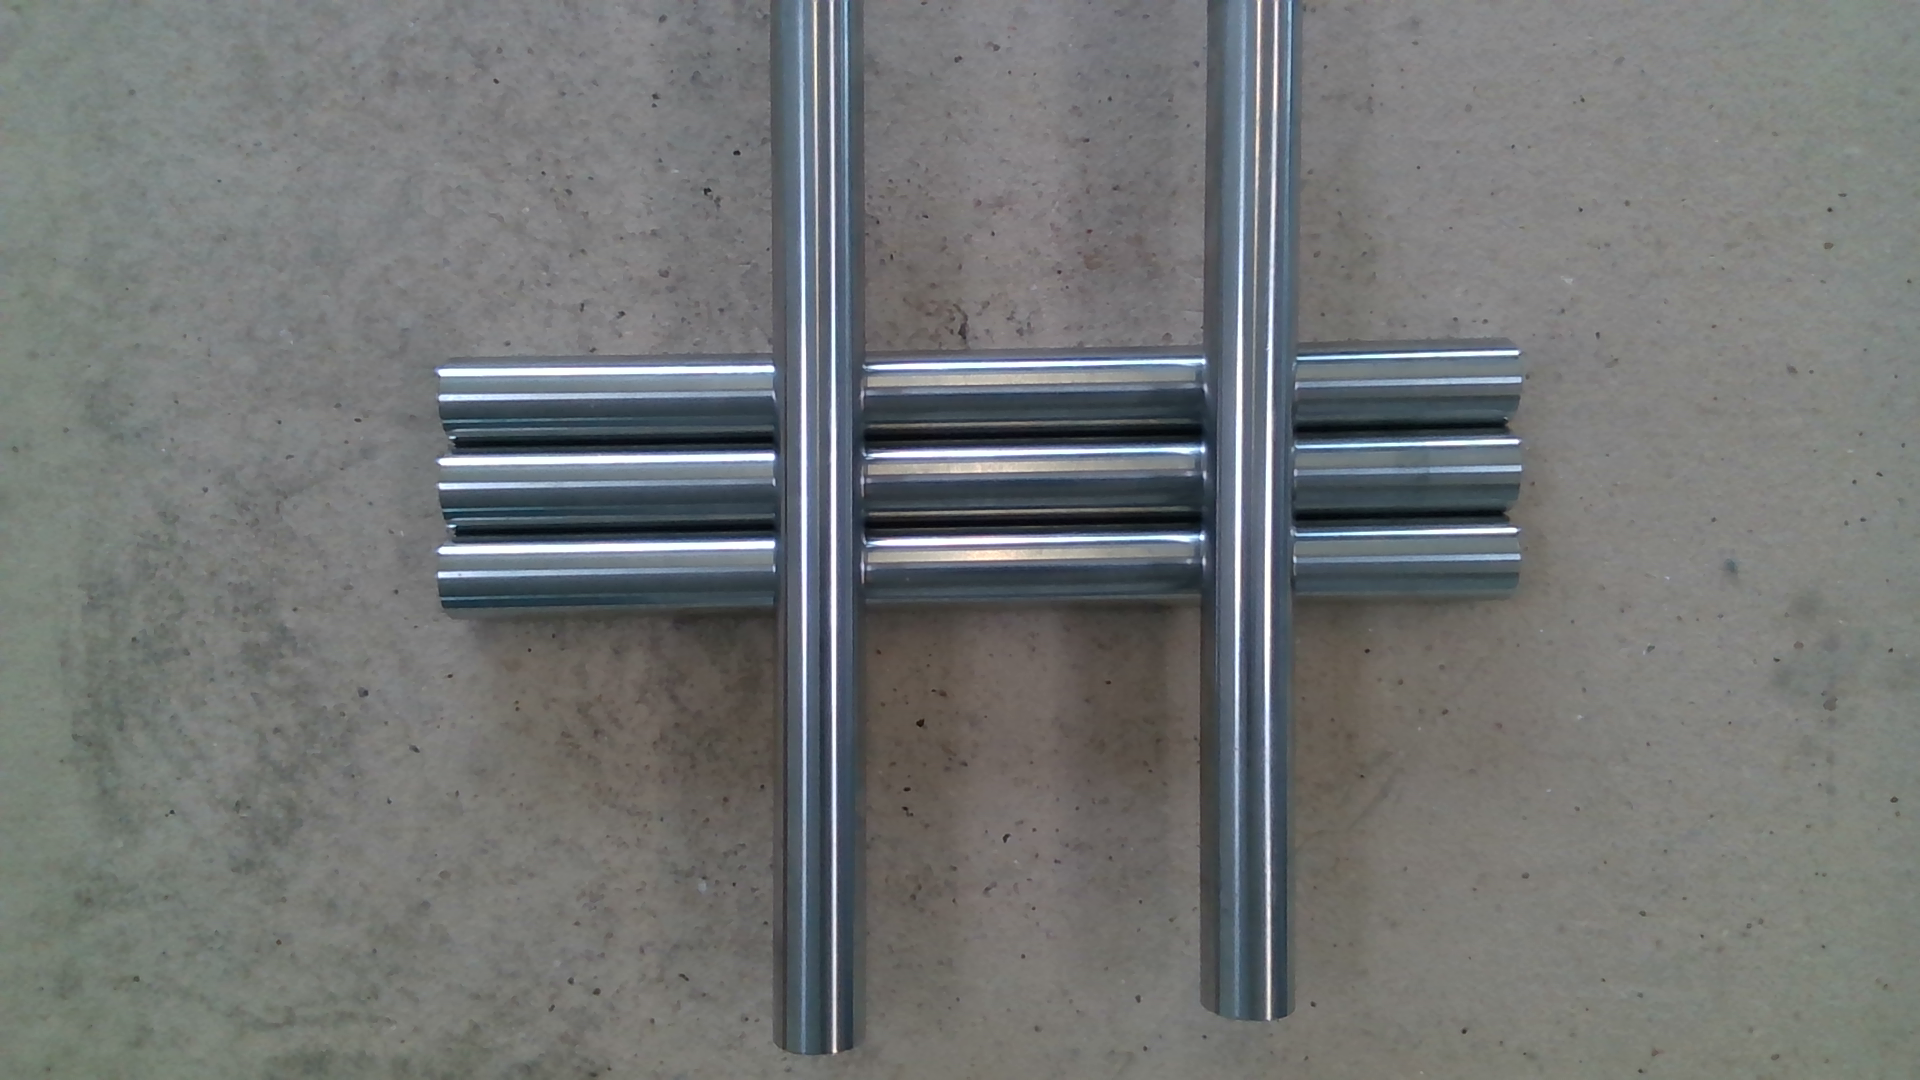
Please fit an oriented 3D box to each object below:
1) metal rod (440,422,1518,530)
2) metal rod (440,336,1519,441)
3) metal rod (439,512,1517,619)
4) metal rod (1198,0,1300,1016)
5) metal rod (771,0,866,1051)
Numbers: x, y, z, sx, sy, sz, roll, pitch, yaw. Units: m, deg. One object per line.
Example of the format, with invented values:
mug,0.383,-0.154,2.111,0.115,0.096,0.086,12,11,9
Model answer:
metal rod,0.005,-0.018,0.395,0.300,0.025,0.025,-1,90,0
metal rod,0.005,-0.043,0.395,0.300,0.025,0.025,-1,90,0
metal rod,0.005,0.007,0.396,0.300,0.025,0.025,-1,90,0
metal rod,0.078,-0.026,0.370,0.025,0.025,0.300,0,90,0
metal rod,-0.038,-0.017,0.370,0.025,0.025,0.300,0,90,0
